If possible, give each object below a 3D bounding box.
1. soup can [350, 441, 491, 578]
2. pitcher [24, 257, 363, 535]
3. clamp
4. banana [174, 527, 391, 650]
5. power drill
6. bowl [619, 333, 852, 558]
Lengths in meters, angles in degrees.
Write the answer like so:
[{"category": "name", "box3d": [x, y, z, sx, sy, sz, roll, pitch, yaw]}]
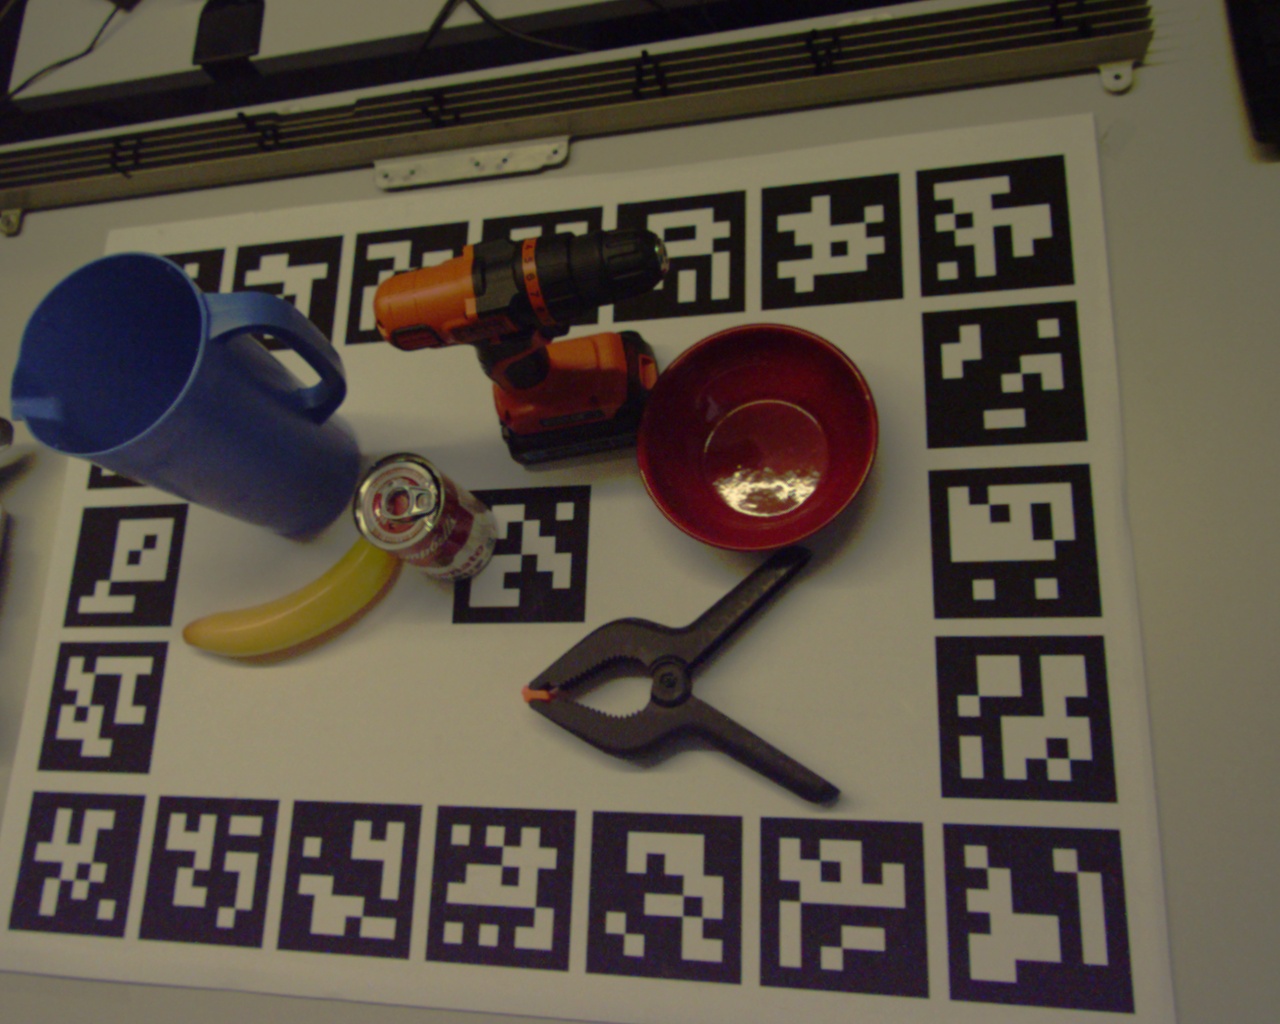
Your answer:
[{"category": "soup can", "box3d": [-0.157, 0.001, 0.832, 0.068, 0.101, 0.068, -6, 65, 13]}, {"category": "pitcher", "box3d": [-0.291, -0.072, 0.814, 0.189, 0.240, 0.134, -26, 67, 7]}, {"category": "clamp", "box3d": [0.009, 0.115, 0.779, 0.204, 0.036, 0.165, -5, 78, 15]}, {"category": "banana", "box3d": [-0.271, 0.063, 0.882, 0.198, 0.038, 0.075, -27, 61, 6]}, {"category": "power drill", "box3d": [-0.056, -0.114, 0.768, 0.186, 0.185, 0.057, -7, 74, 13]}, {"category": "bowl", "box3d": [0.069, -0.042, 0.802, 0.163, 0.055, 0.162, -4, 75, 15]}]
